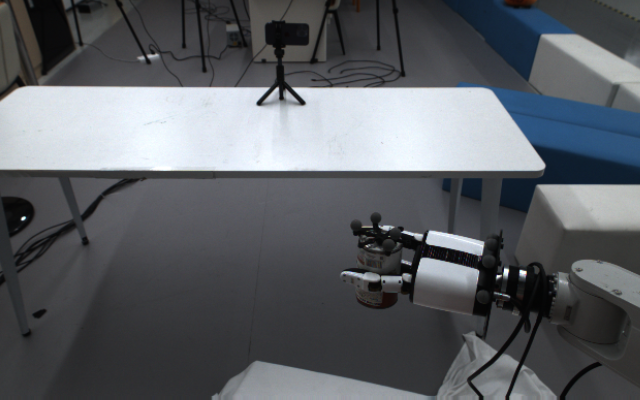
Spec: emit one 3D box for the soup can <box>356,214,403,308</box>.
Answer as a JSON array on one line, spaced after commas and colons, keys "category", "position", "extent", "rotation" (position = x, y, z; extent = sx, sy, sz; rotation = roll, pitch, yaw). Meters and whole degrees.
[{"category": "soup can", "position": [0.091, 0.105, 0.734], "extent": [0.067, 0.101, 0.067], "rotation": [1, 25, 0]}]
